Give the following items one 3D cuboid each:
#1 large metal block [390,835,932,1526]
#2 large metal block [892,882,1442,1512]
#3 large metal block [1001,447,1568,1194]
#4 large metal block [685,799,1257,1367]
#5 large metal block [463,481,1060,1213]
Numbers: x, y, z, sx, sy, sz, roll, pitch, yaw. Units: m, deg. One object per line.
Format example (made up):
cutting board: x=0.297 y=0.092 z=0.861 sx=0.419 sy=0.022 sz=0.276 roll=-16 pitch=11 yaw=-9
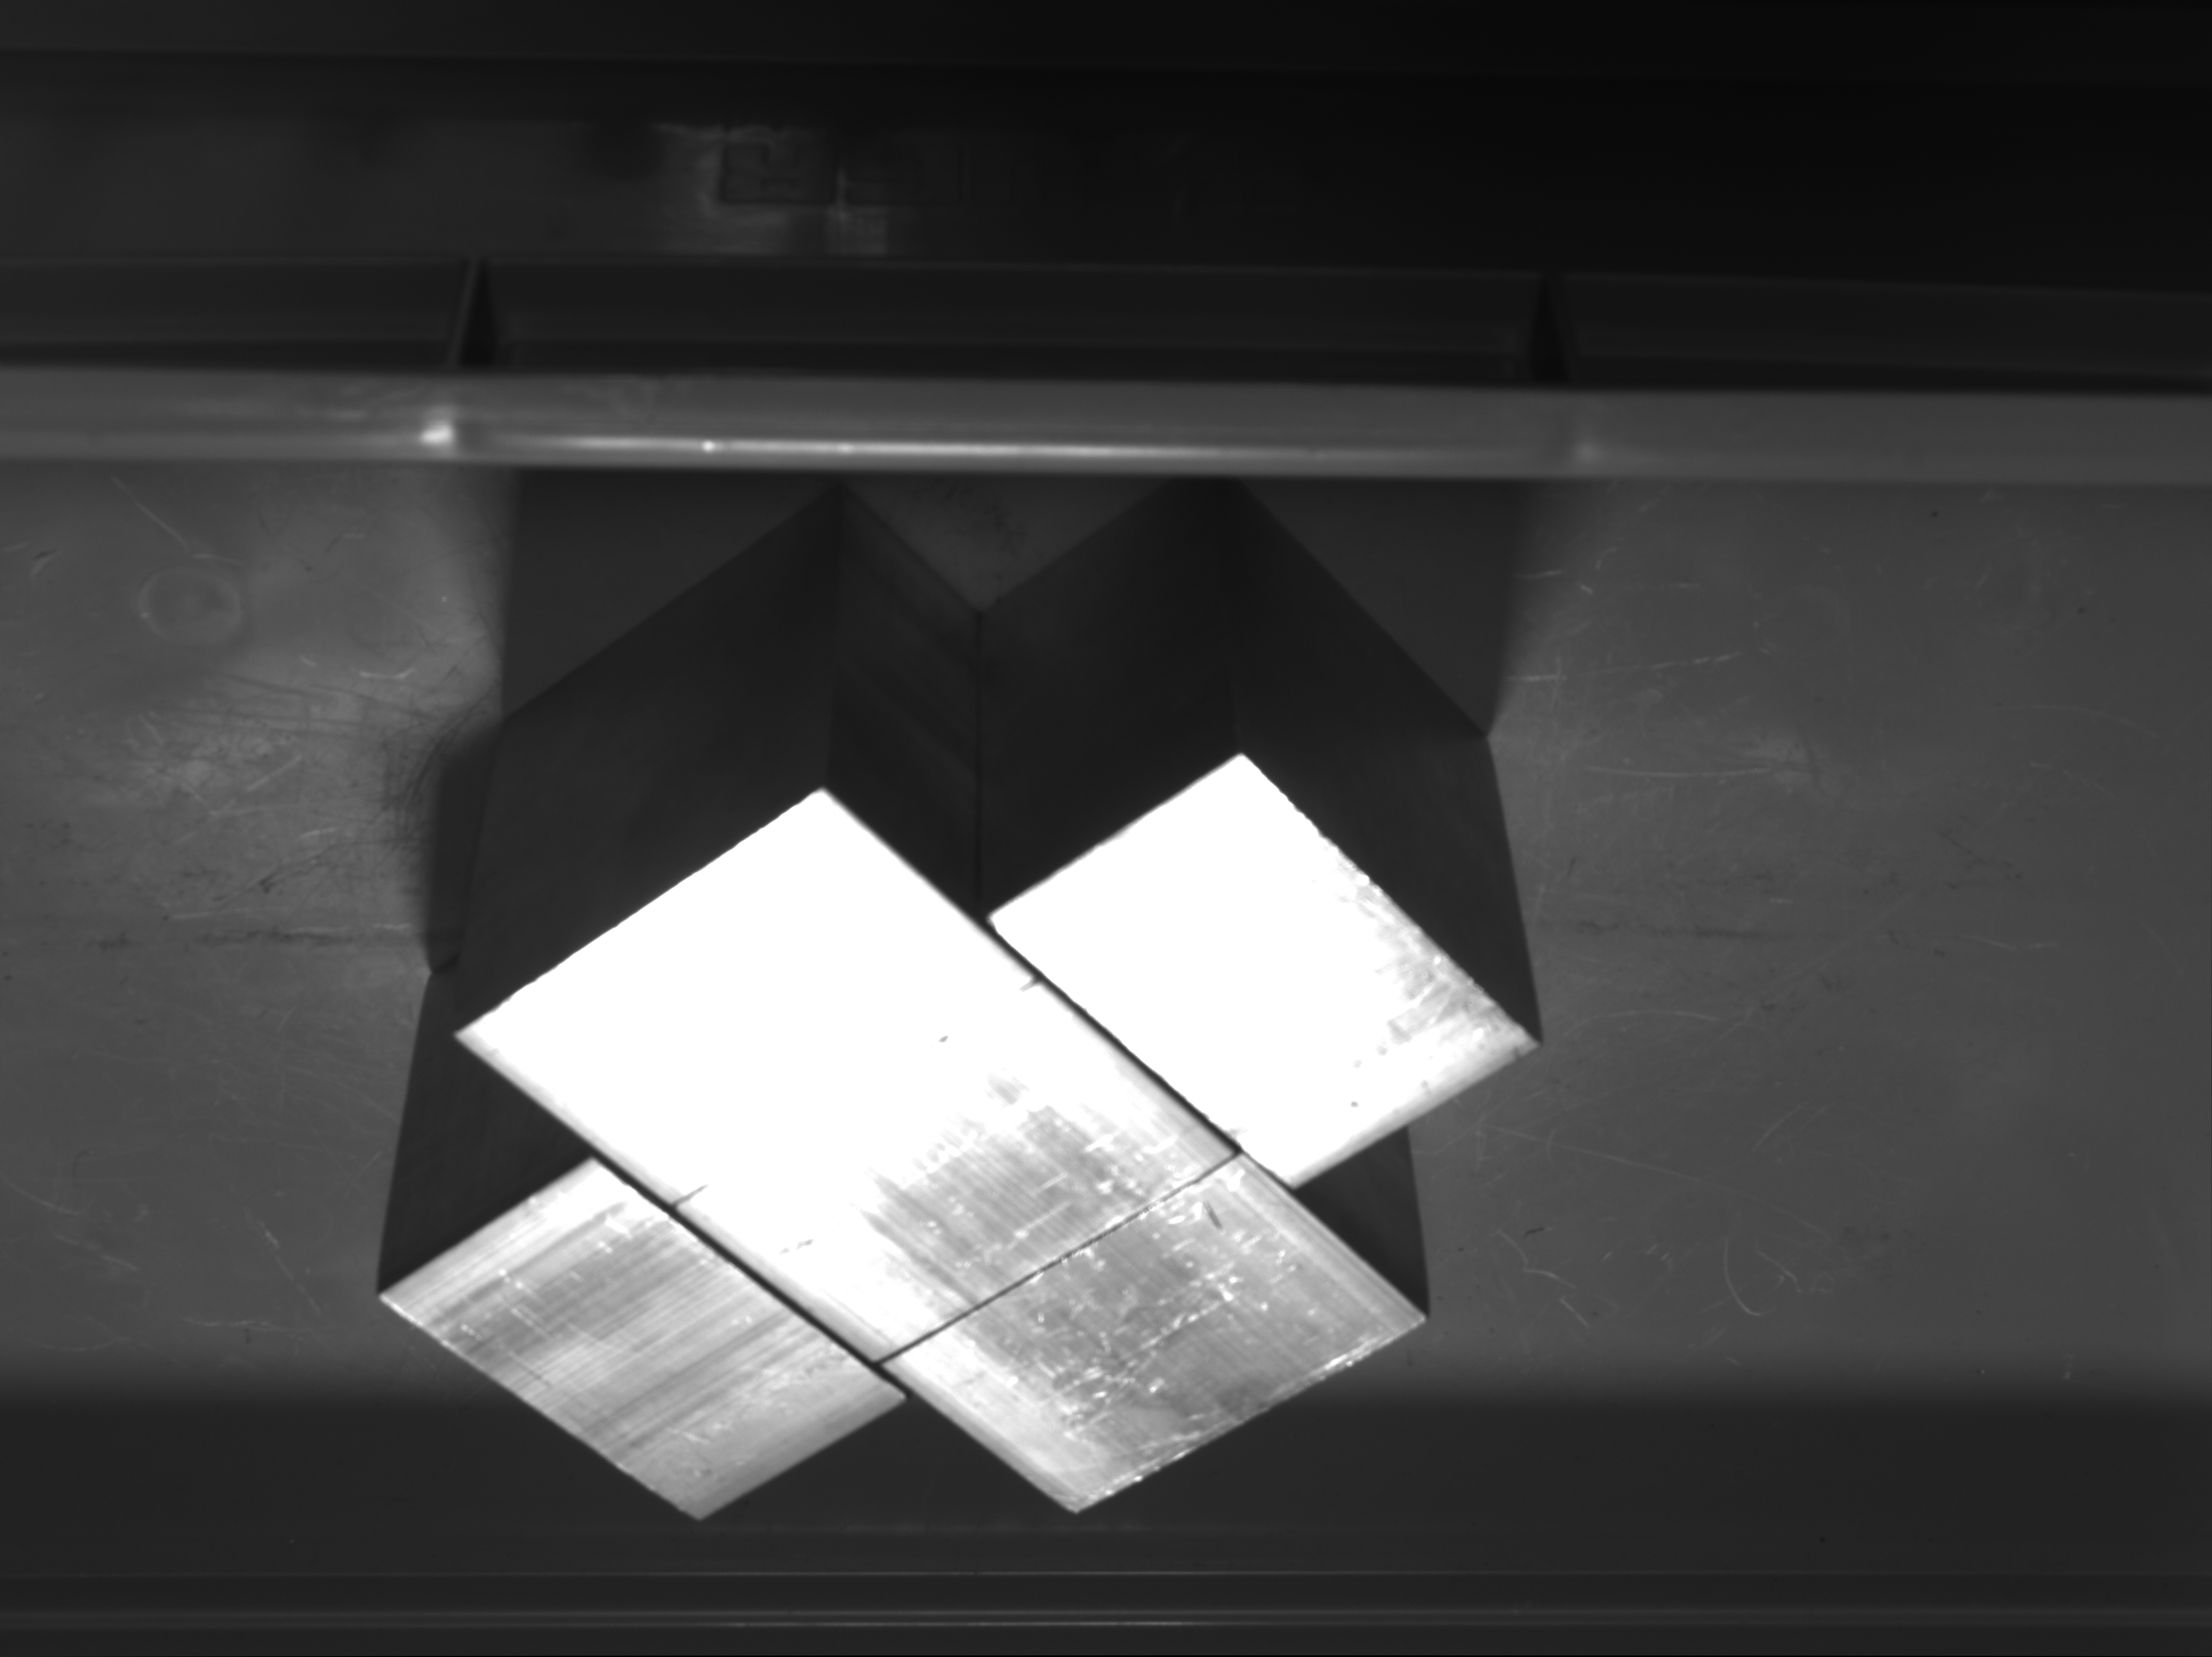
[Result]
large metal block: x=-0.076 y=0.063 z=0.652 sx=0.050 sy=0.080 sz=0.080 roll=-33 pitch=123 yaw=23
large metal block: x=0.009 y=0.062 z=0.654 sx=0.080 sy=0.080 sz=0.050 roll=-32 pitch=124 yaw=23
large metal block: x=0.028 y=-0.001 z=0.602 sx=0.050 sy=0.080 sz=0.080 roll=-33 pitch=123 yaw=23
large metal block: x=-0.023 y=0.032 z=0.628 sx=0.080 sy=0.080 sz=0.050 roll=-32 pitch=124 yaw=23
large metal block: x=-0.055 y=0.003 z=0.602 sx=0.080 sy=0.080 sz=0.050 roll=-32 pitch=124 yaw=23
